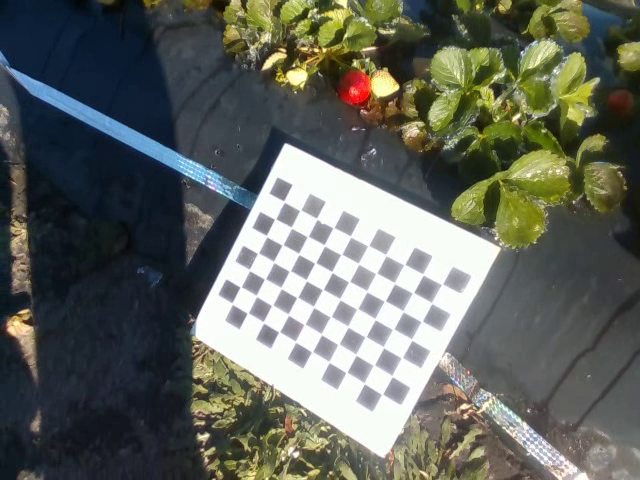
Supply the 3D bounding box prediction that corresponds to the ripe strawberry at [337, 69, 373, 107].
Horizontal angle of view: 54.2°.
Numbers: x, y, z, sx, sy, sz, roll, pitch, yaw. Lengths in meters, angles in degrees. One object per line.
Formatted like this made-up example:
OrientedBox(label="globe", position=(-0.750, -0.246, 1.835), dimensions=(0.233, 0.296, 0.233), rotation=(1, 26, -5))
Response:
OrientedBox(label="ripe strawberry", position=(0.037, -0.166, 0.670), dimensions=(0.040, 0.042, 0.053), rotation=(-9, 20, 11))
